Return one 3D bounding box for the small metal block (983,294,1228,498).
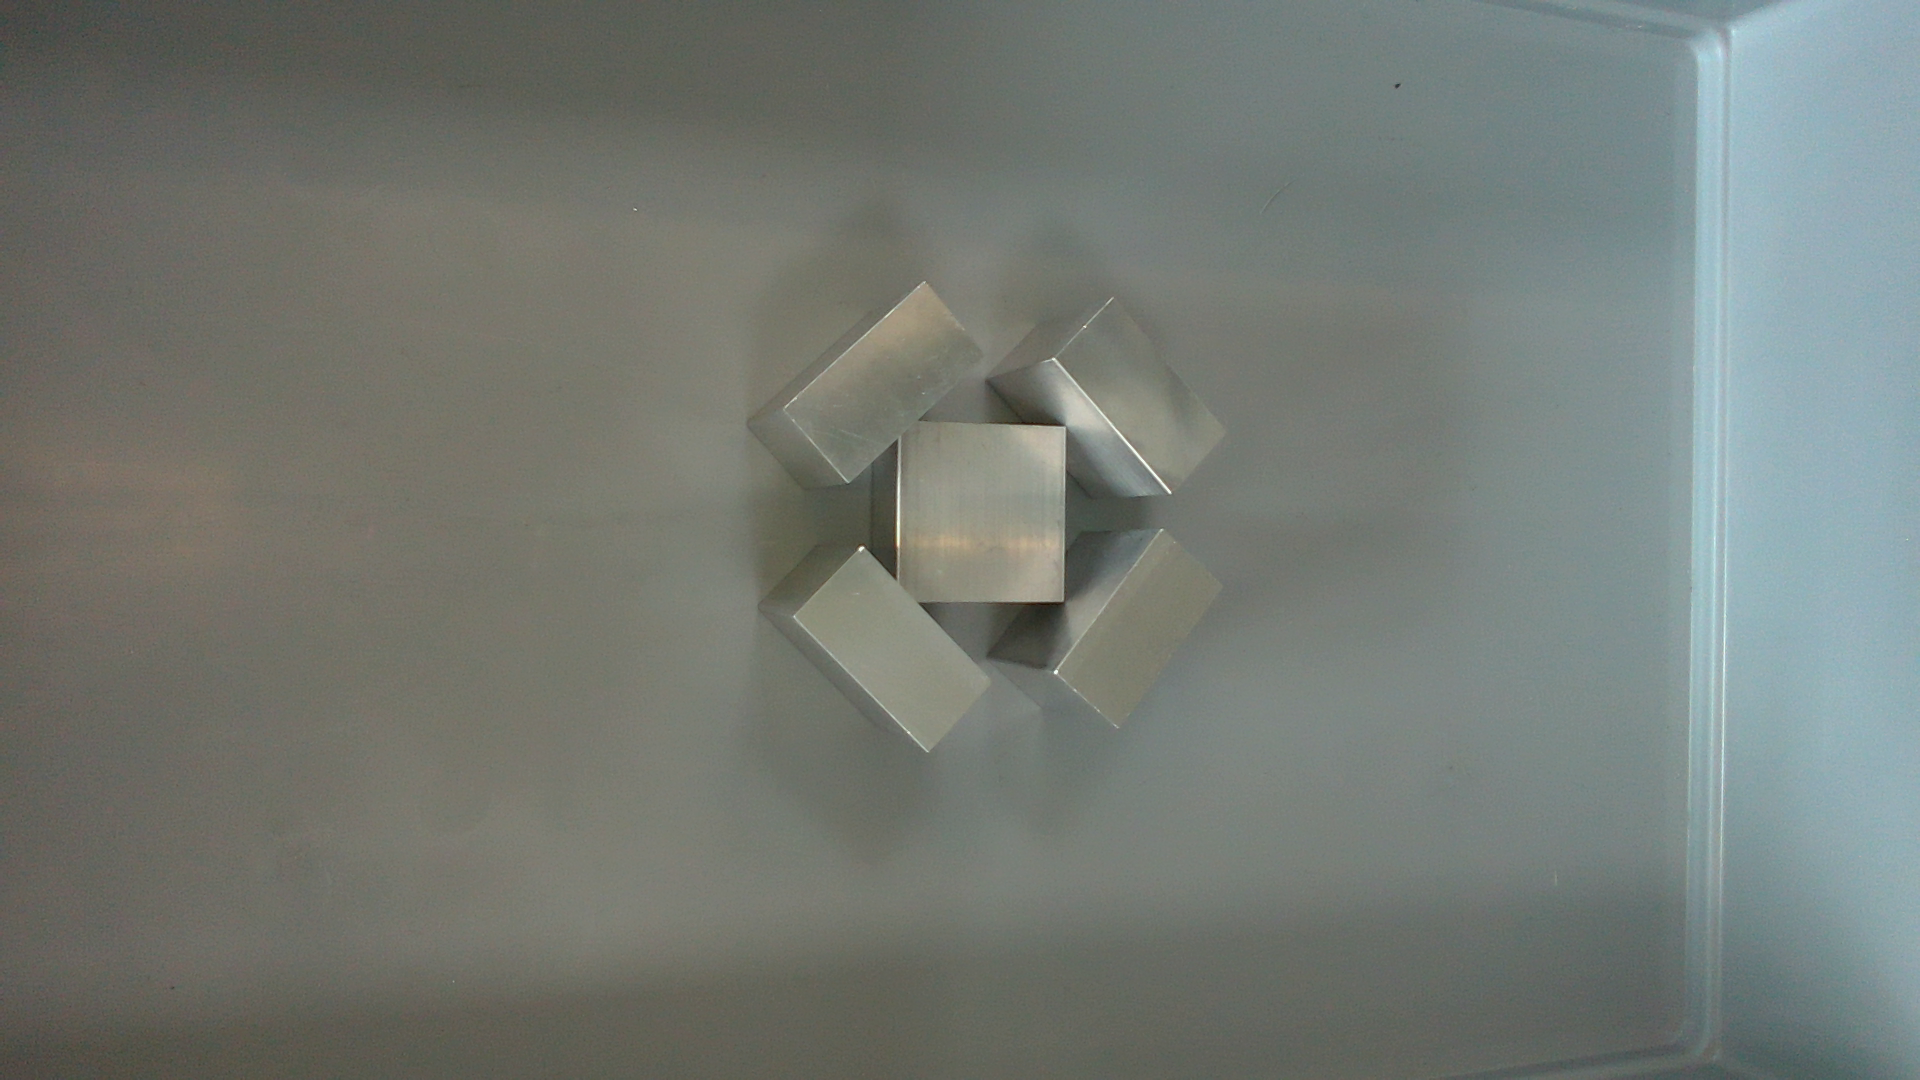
[{"bbox_3d":[0.040,-0.039,0.393,0.025,0.050,0.050,-47,105,-15],"label":"small metal block"}]

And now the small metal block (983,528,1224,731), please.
[{"bbox_3d":[0.040,0.024,0.393,0.025,0.050,0.050,42,76,-16],"label":"small metal block"}]

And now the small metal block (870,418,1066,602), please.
[{"bbox_3d":[0.002,-0.008,0.392,0.050,0.025,0.050,1,90,-20],"label":"small metal block"}]

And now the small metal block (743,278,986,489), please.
[{"bbox_3d":[-0.027,-0.040,0.368,0.050,0.050,0.025,-44,103,-14],"label":"small metal block"}]

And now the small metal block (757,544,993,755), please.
[{"bbox_3d":[-0.025,0.028,0.370,0.025,0.050,0.050,-46,104,-13],"label":"small metal block"}]
